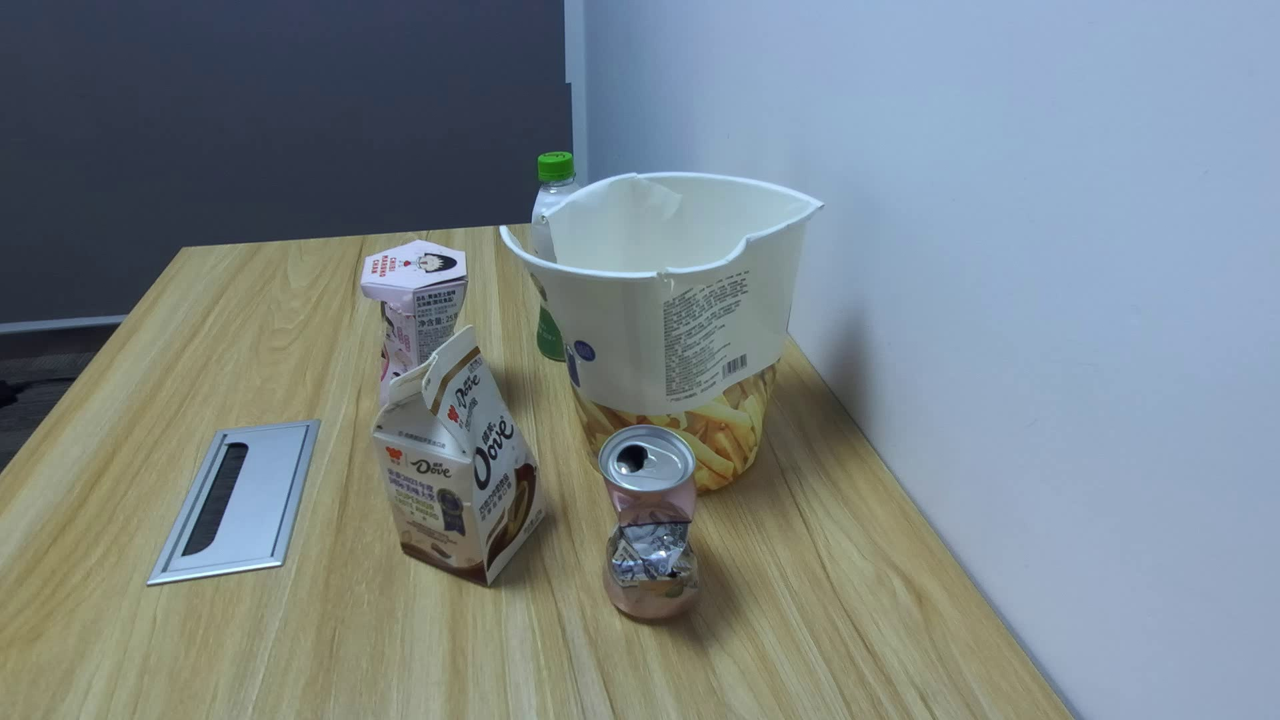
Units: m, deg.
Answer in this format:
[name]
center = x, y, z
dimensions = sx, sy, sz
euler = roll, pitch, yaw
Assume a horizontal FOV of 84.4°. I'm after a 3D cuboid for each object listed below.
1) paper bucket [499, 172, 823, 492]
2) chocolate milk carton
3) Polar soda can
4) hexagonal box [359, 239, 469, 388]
[paper bucket]
center = 0.022, -0.019, 0.526
dimensions = 0.145, 0.197, 0.203
euler = 22, 39, 32
[chocolate milk carton]
center = -0.114, 0.056, 0.454
dimensions = 0.073, 0.155, 0.084
euler = 15, 35, 21
[Polar soda can]
center = 0.007, 0.100, 0.427
dimensions = 0.074, 0.114, 0.070
euler = 18, 43, 29
[hexagonal box]
center = -0.177, -0.020, 0.588
dimensions = 0.090, 0.134, 0.091
euler = 19, 37, 22
